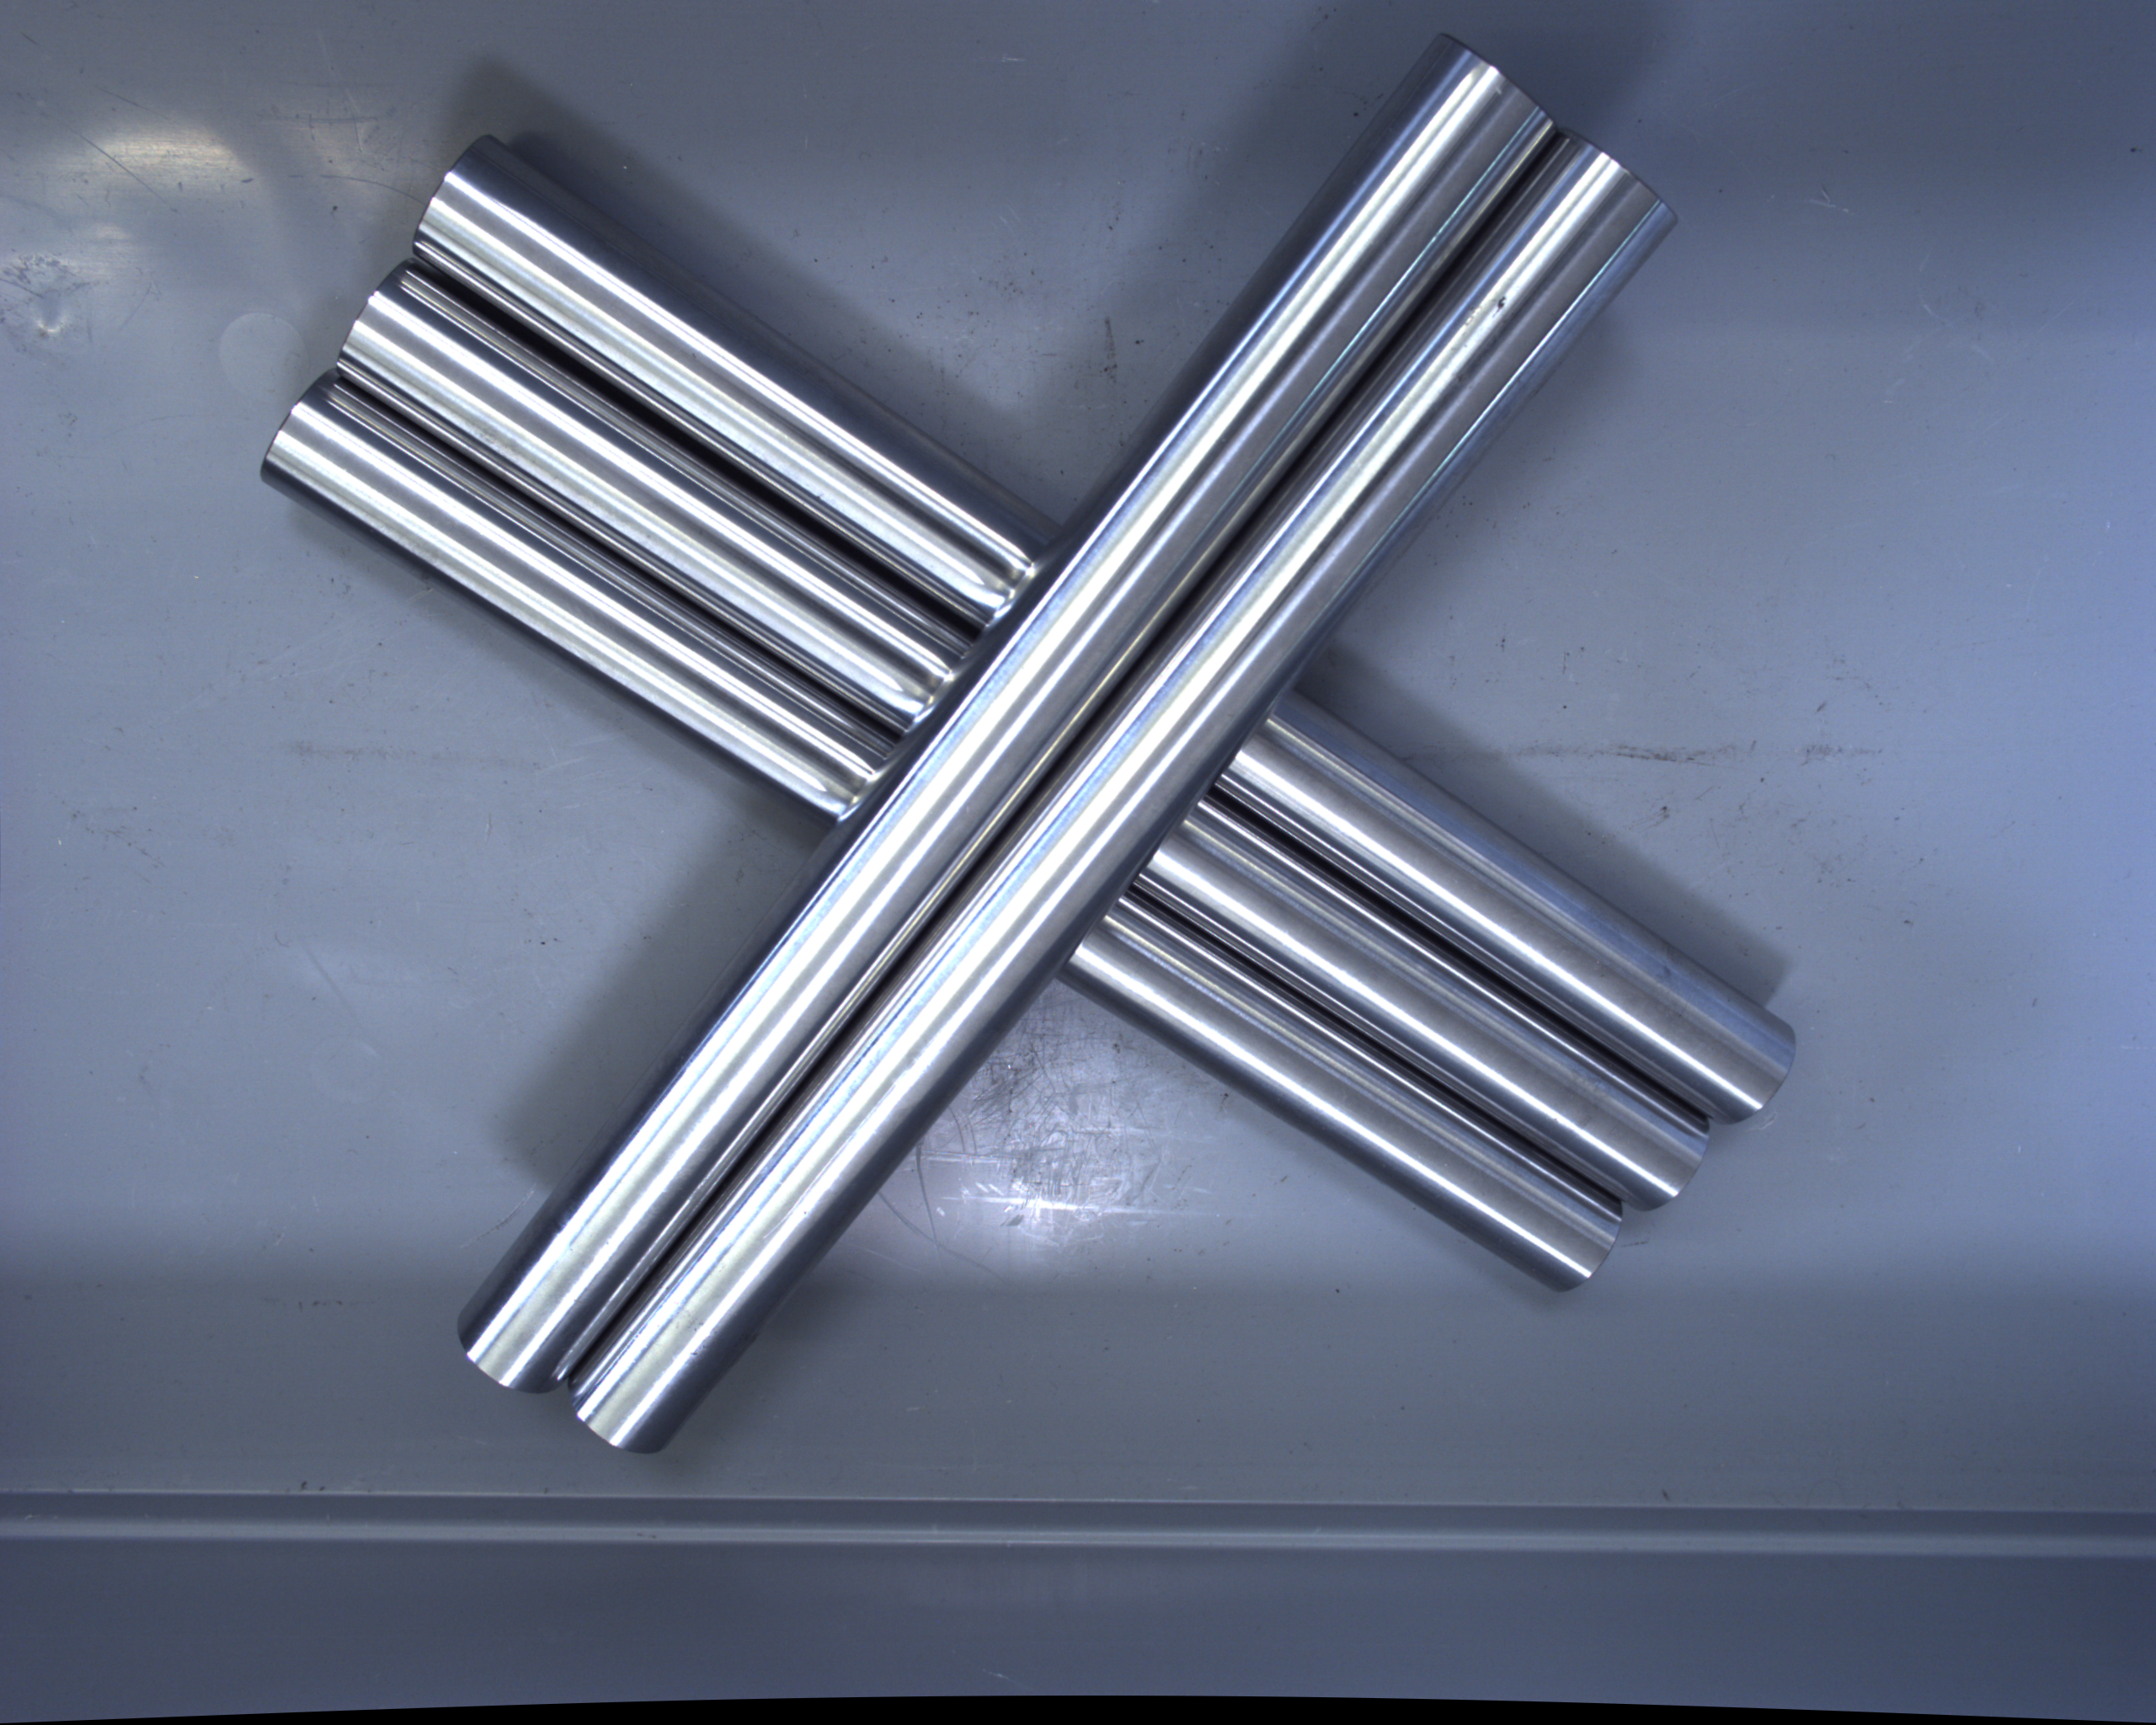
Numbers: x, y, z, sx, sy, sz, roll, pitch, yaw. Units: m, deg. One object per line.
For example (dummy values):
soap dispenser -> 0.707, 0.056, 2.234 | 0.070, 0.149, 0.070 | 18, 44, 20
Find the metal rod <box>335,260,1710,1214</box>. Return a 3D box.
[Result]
metal rod -> -0.002, -0.018, 0.403 | 0.301, 0.025, 0.025 | 33, 107, -12

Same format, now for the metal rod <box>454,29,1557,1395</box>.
metal rod -> -0.023, -0.015, 0.377 | 0.025, 0.025, 0.299 | 36, 106, -12

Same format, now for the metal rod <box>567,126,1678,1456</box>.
metal rod -> -0.002, -0.001, 0.382 | 0.025, 0.025, 0.299 | 36, 106, -12

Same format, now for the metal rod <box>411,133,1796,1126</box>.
metal rod -> 0.014, -0.037, 0.396 | 0.301, 0.025, 0.025 | 33, 107, -12

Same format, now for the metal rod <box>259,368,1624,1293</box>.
metal rod -> -0.017, 0.000, 0.409 | 0.301, 0.025, 0.025 | 33, 107, -12
